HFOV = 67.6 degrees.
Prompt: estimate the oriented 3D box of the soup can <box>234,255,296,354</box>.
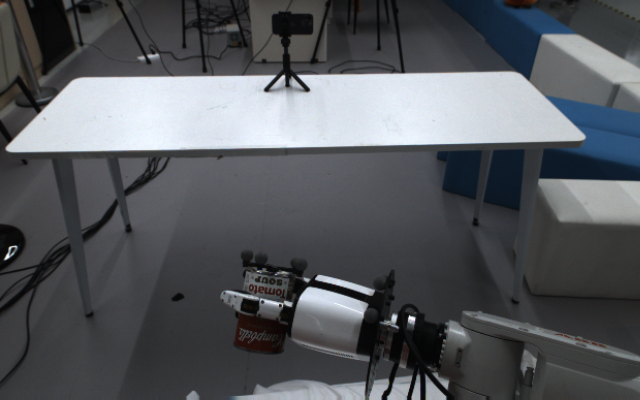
[{"bbox_3d":[-0.072,0.145,0.638,0.067,0.101,0.067,9,-6,1],"label":"soup can"}]
